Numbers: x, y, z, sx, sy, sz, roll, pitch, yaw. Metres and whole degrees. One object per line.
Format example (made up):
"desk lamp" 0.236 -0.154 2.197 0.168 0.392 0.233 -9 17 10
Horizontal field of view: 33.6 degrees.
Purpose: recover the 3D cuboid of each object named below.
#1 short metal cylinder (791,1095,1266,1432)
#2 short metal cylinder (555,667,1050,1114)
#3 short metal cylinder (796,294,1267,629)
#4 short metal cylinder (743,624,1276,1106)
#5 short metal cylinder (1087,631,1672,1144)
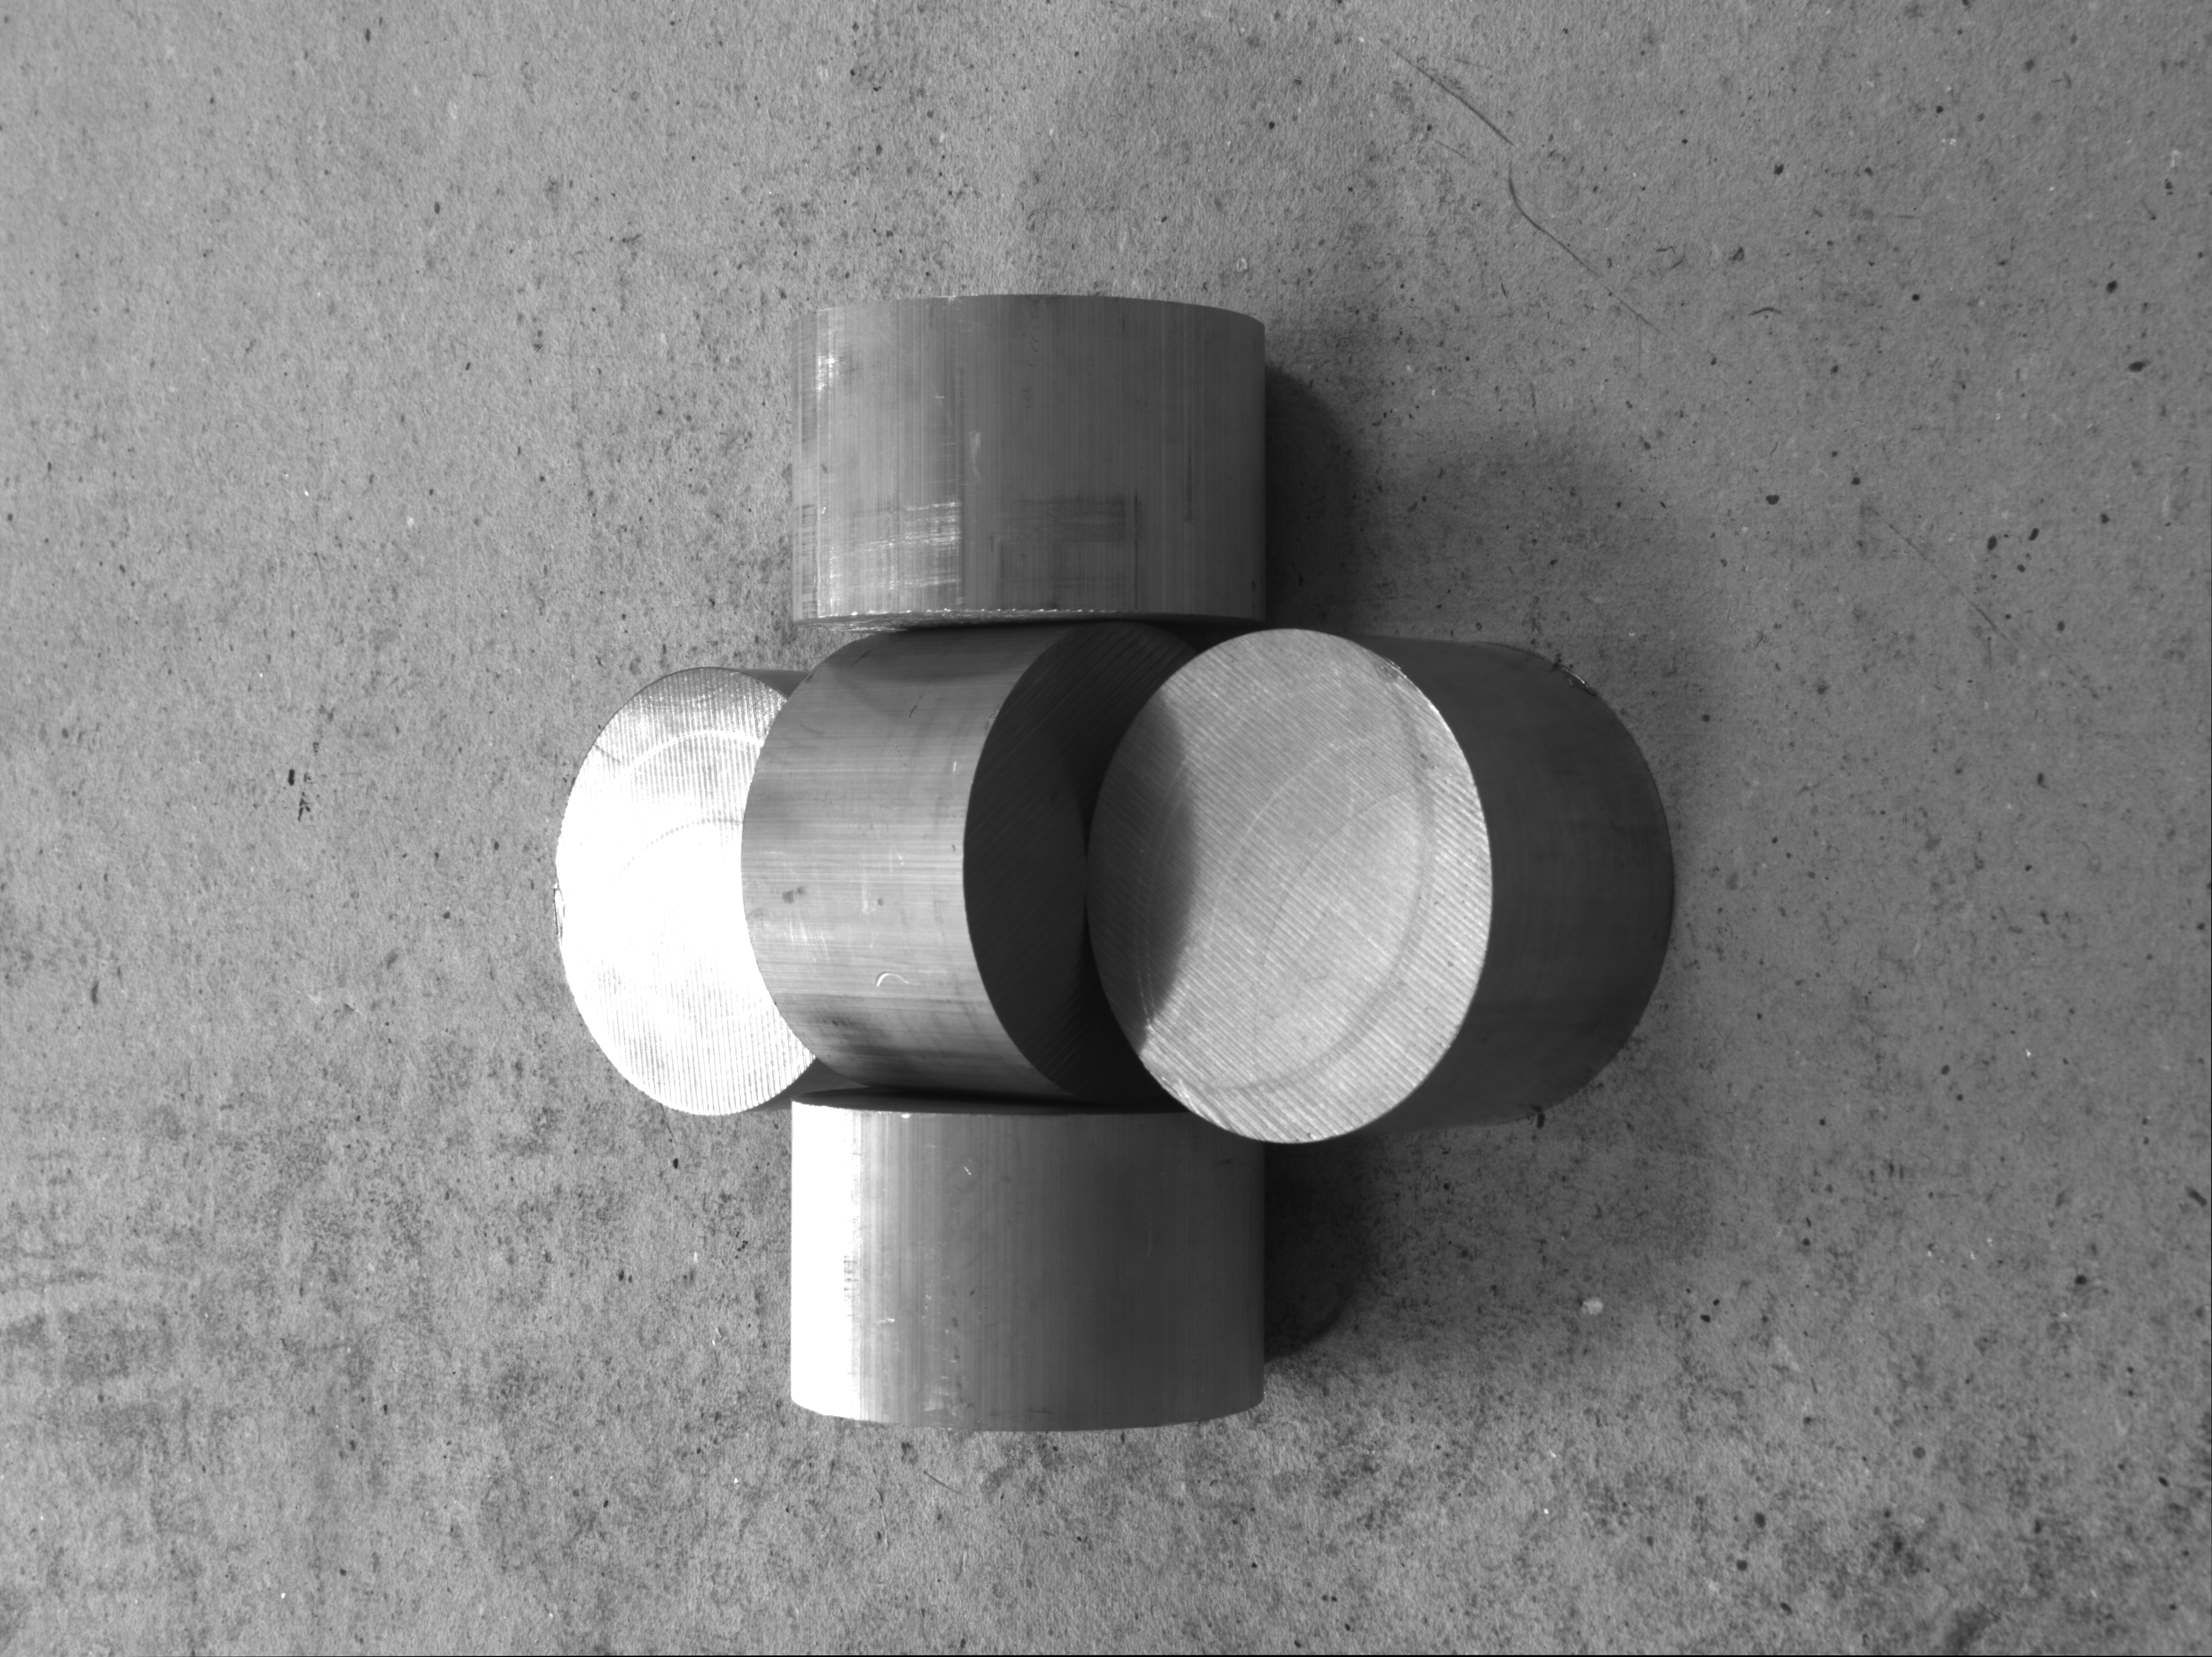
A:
"short metal cylinder" -0.013 0.071 0.621 0.080 0.080 0.050 0 89 40
"short metal cylinder" -0.056 0.011 0.676 0.080 0.050 0.080 0 89 39
"short metal cylinder" -0.013 -0.060 0.621 0.080 0.080 0.050 0 90 40
"short metal cylinder" -0.015 0.006 0.623 0.050 0.080 0.080 0 90 40
"short metal cylinder" 0.044 0.009 0.591 0.080 0.050 0.080 0 90 40
